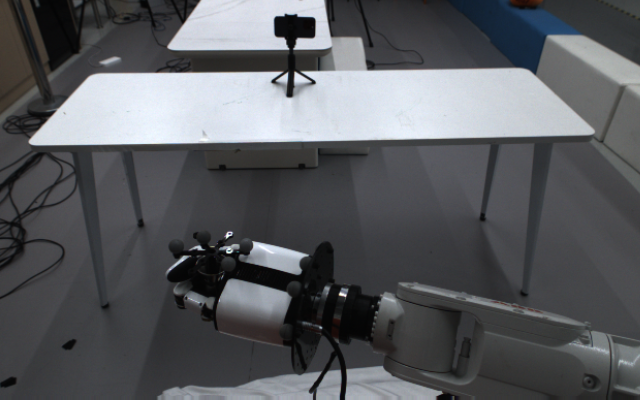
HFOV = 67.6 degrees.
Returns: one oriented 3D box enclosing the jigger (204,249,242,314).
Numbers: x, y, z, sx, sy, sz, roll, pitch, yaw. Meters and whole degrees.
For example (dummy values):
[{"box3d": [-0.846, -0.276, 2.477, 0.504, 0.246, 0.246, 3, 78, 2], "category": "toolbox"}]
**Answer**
[{"box3d": [-0.129, 0.105, 0.610, 0.043, 0.071, 0.043, 4, 31, -2], "category": "jigger"}]
